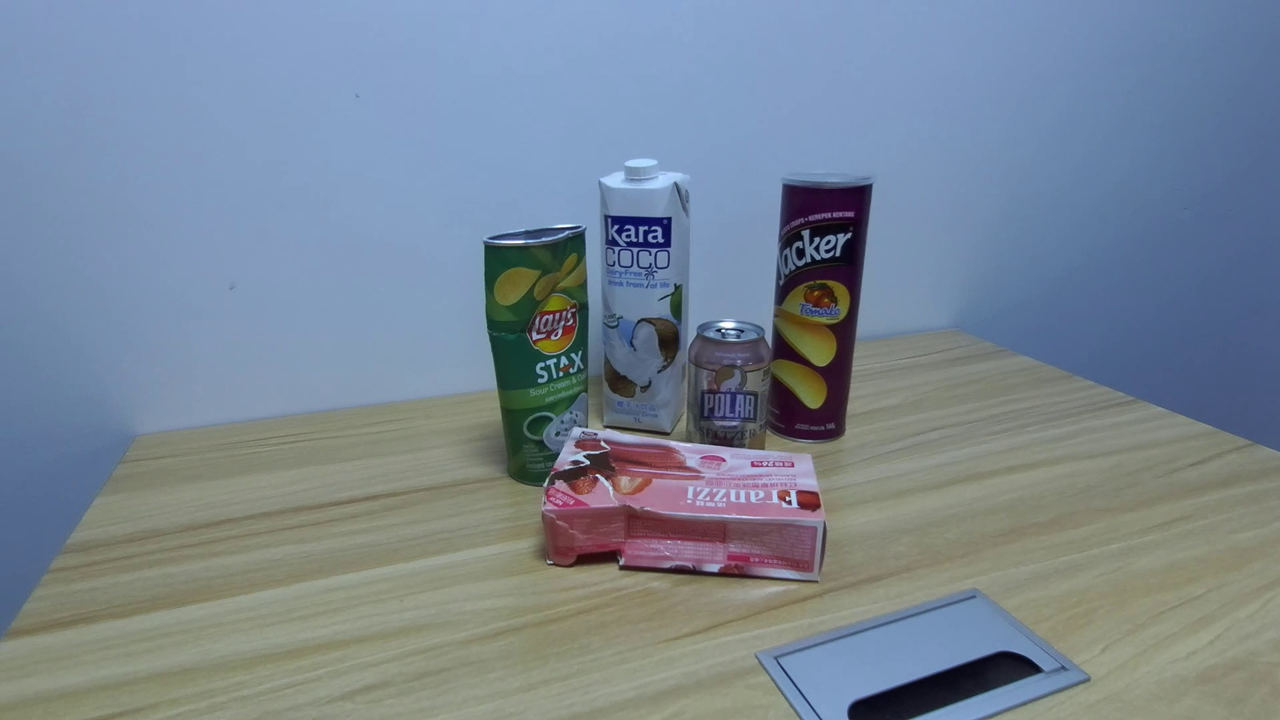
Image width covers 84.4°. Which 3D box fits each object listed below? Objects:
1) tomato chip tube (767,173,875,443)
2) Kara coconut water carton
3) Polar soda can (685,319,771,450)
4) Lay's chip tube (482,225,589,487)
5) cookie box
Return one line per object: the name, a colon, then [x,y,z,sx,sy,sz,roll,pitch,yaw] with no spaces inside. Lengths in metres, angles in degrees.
tomato chip tube: [0.160,-0.045,0.640,0.078,0.234,0.078,0,19,0]
Kara coconut water carton: [0.005,-0.057,0.651,0.077,0.245,0.075,5,19,16]
Polar soda can: [0.073,0.032,0.582,0.067,0.125,0.067,0,21,0]
Lay's chip tube: [-0.078,-0.003,0.570,0.069,0.199,0.075,1,21,4]
cookie box: [0.032,0.097,0.500,0.186,0.059,0.105,3,23,5]
